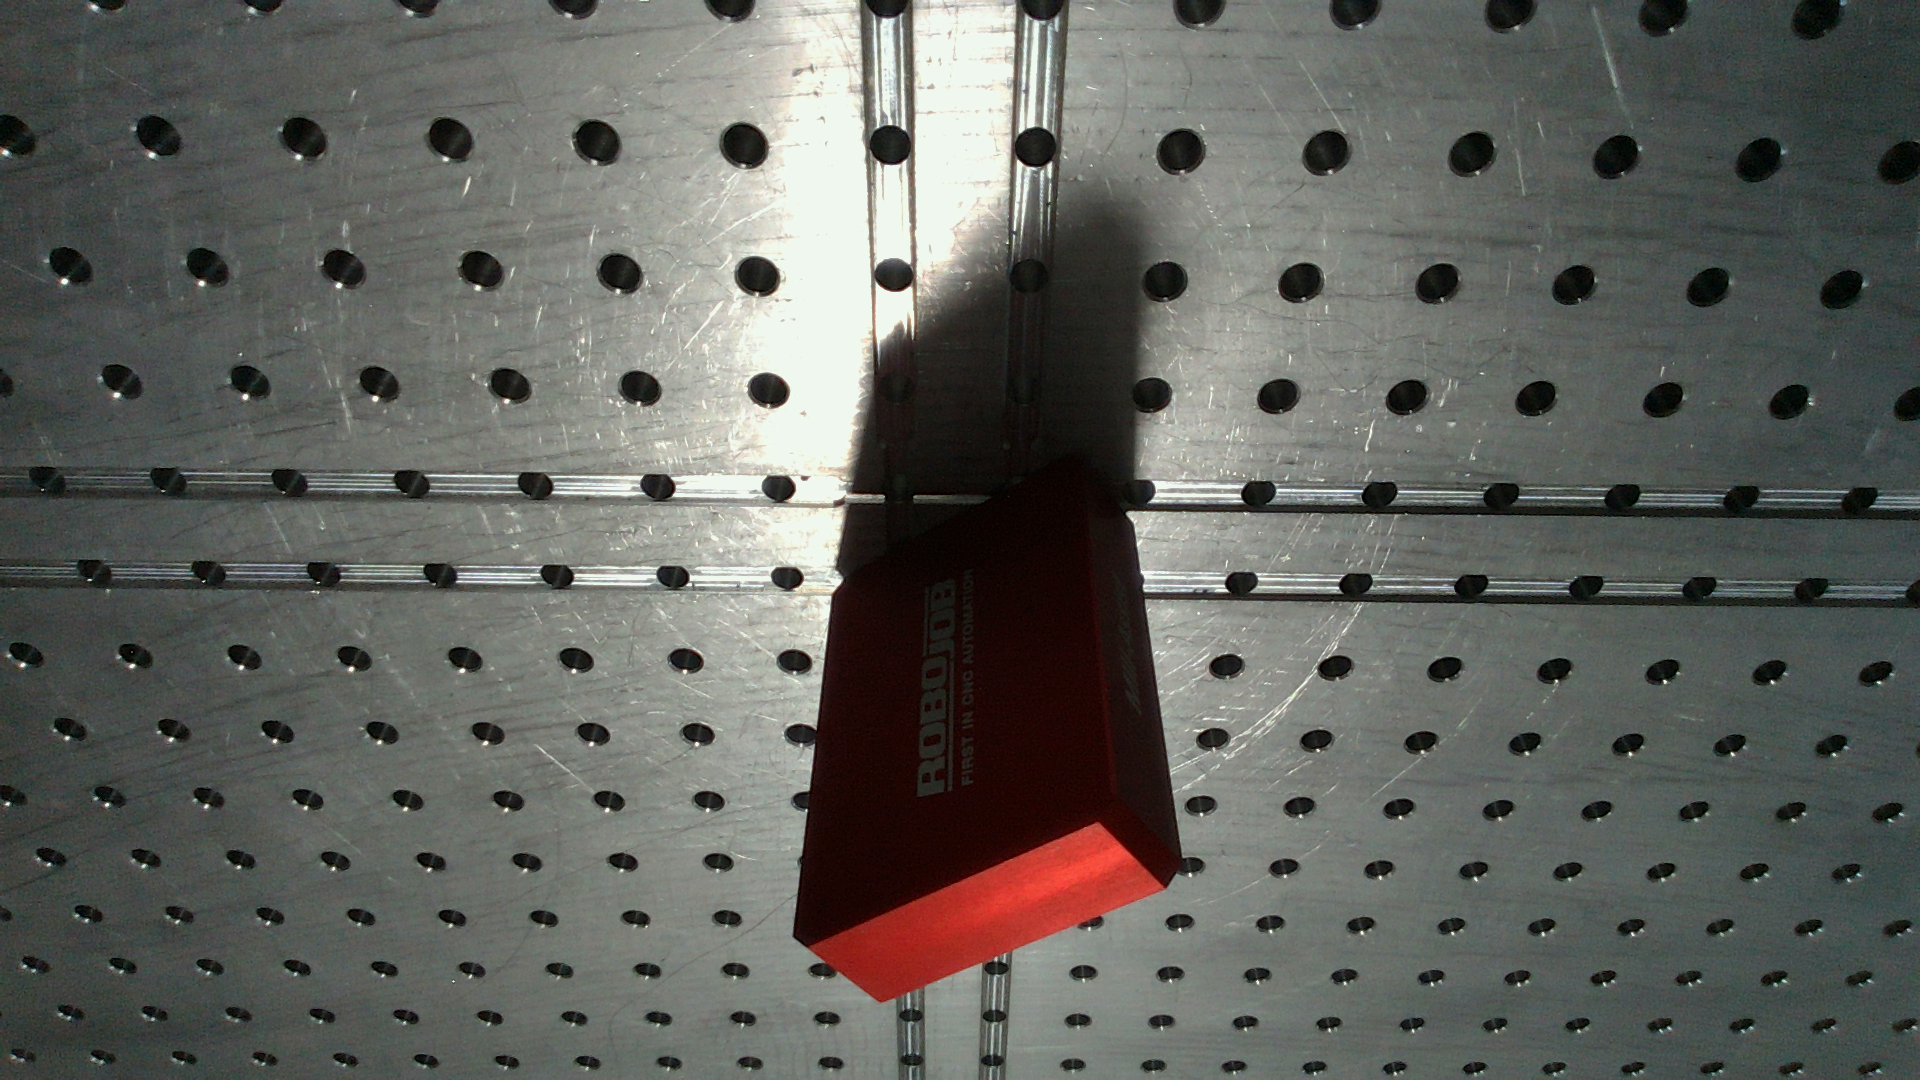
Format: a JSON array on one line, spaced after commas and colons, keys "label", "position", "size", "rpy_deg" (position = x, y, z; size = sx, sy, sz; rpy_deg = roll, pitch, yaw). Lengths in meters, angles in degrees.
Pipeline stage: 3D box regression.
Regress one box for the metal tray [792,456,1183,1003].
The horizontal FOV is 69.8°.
[{"label": "metal tray", "position": [0.005, 0.044, 0.362], "size": [0.090, 0.130, 0.030], "rpy_deg": [-28, 124, 22]}]
